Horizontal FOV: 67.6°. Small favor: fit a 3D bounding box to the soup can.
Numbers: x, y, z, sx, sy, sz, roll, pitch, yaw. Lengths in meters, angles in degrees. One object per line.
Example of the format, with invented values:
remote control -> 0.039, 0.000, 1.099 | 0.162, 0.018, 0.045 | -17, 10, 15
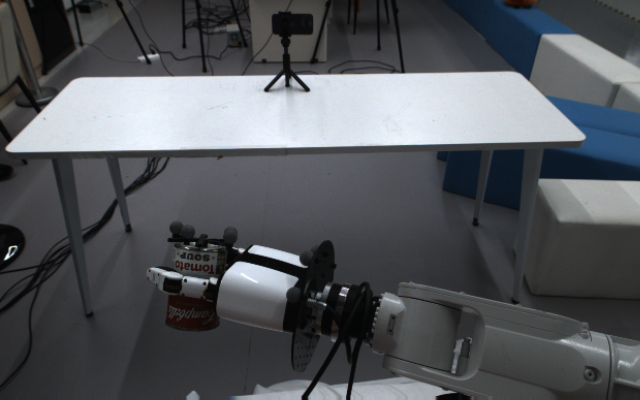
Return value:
soup can -> -0.154, 0.107, 0.609 | 0.067, 0.101, 0.067 | 7, 3, 0
